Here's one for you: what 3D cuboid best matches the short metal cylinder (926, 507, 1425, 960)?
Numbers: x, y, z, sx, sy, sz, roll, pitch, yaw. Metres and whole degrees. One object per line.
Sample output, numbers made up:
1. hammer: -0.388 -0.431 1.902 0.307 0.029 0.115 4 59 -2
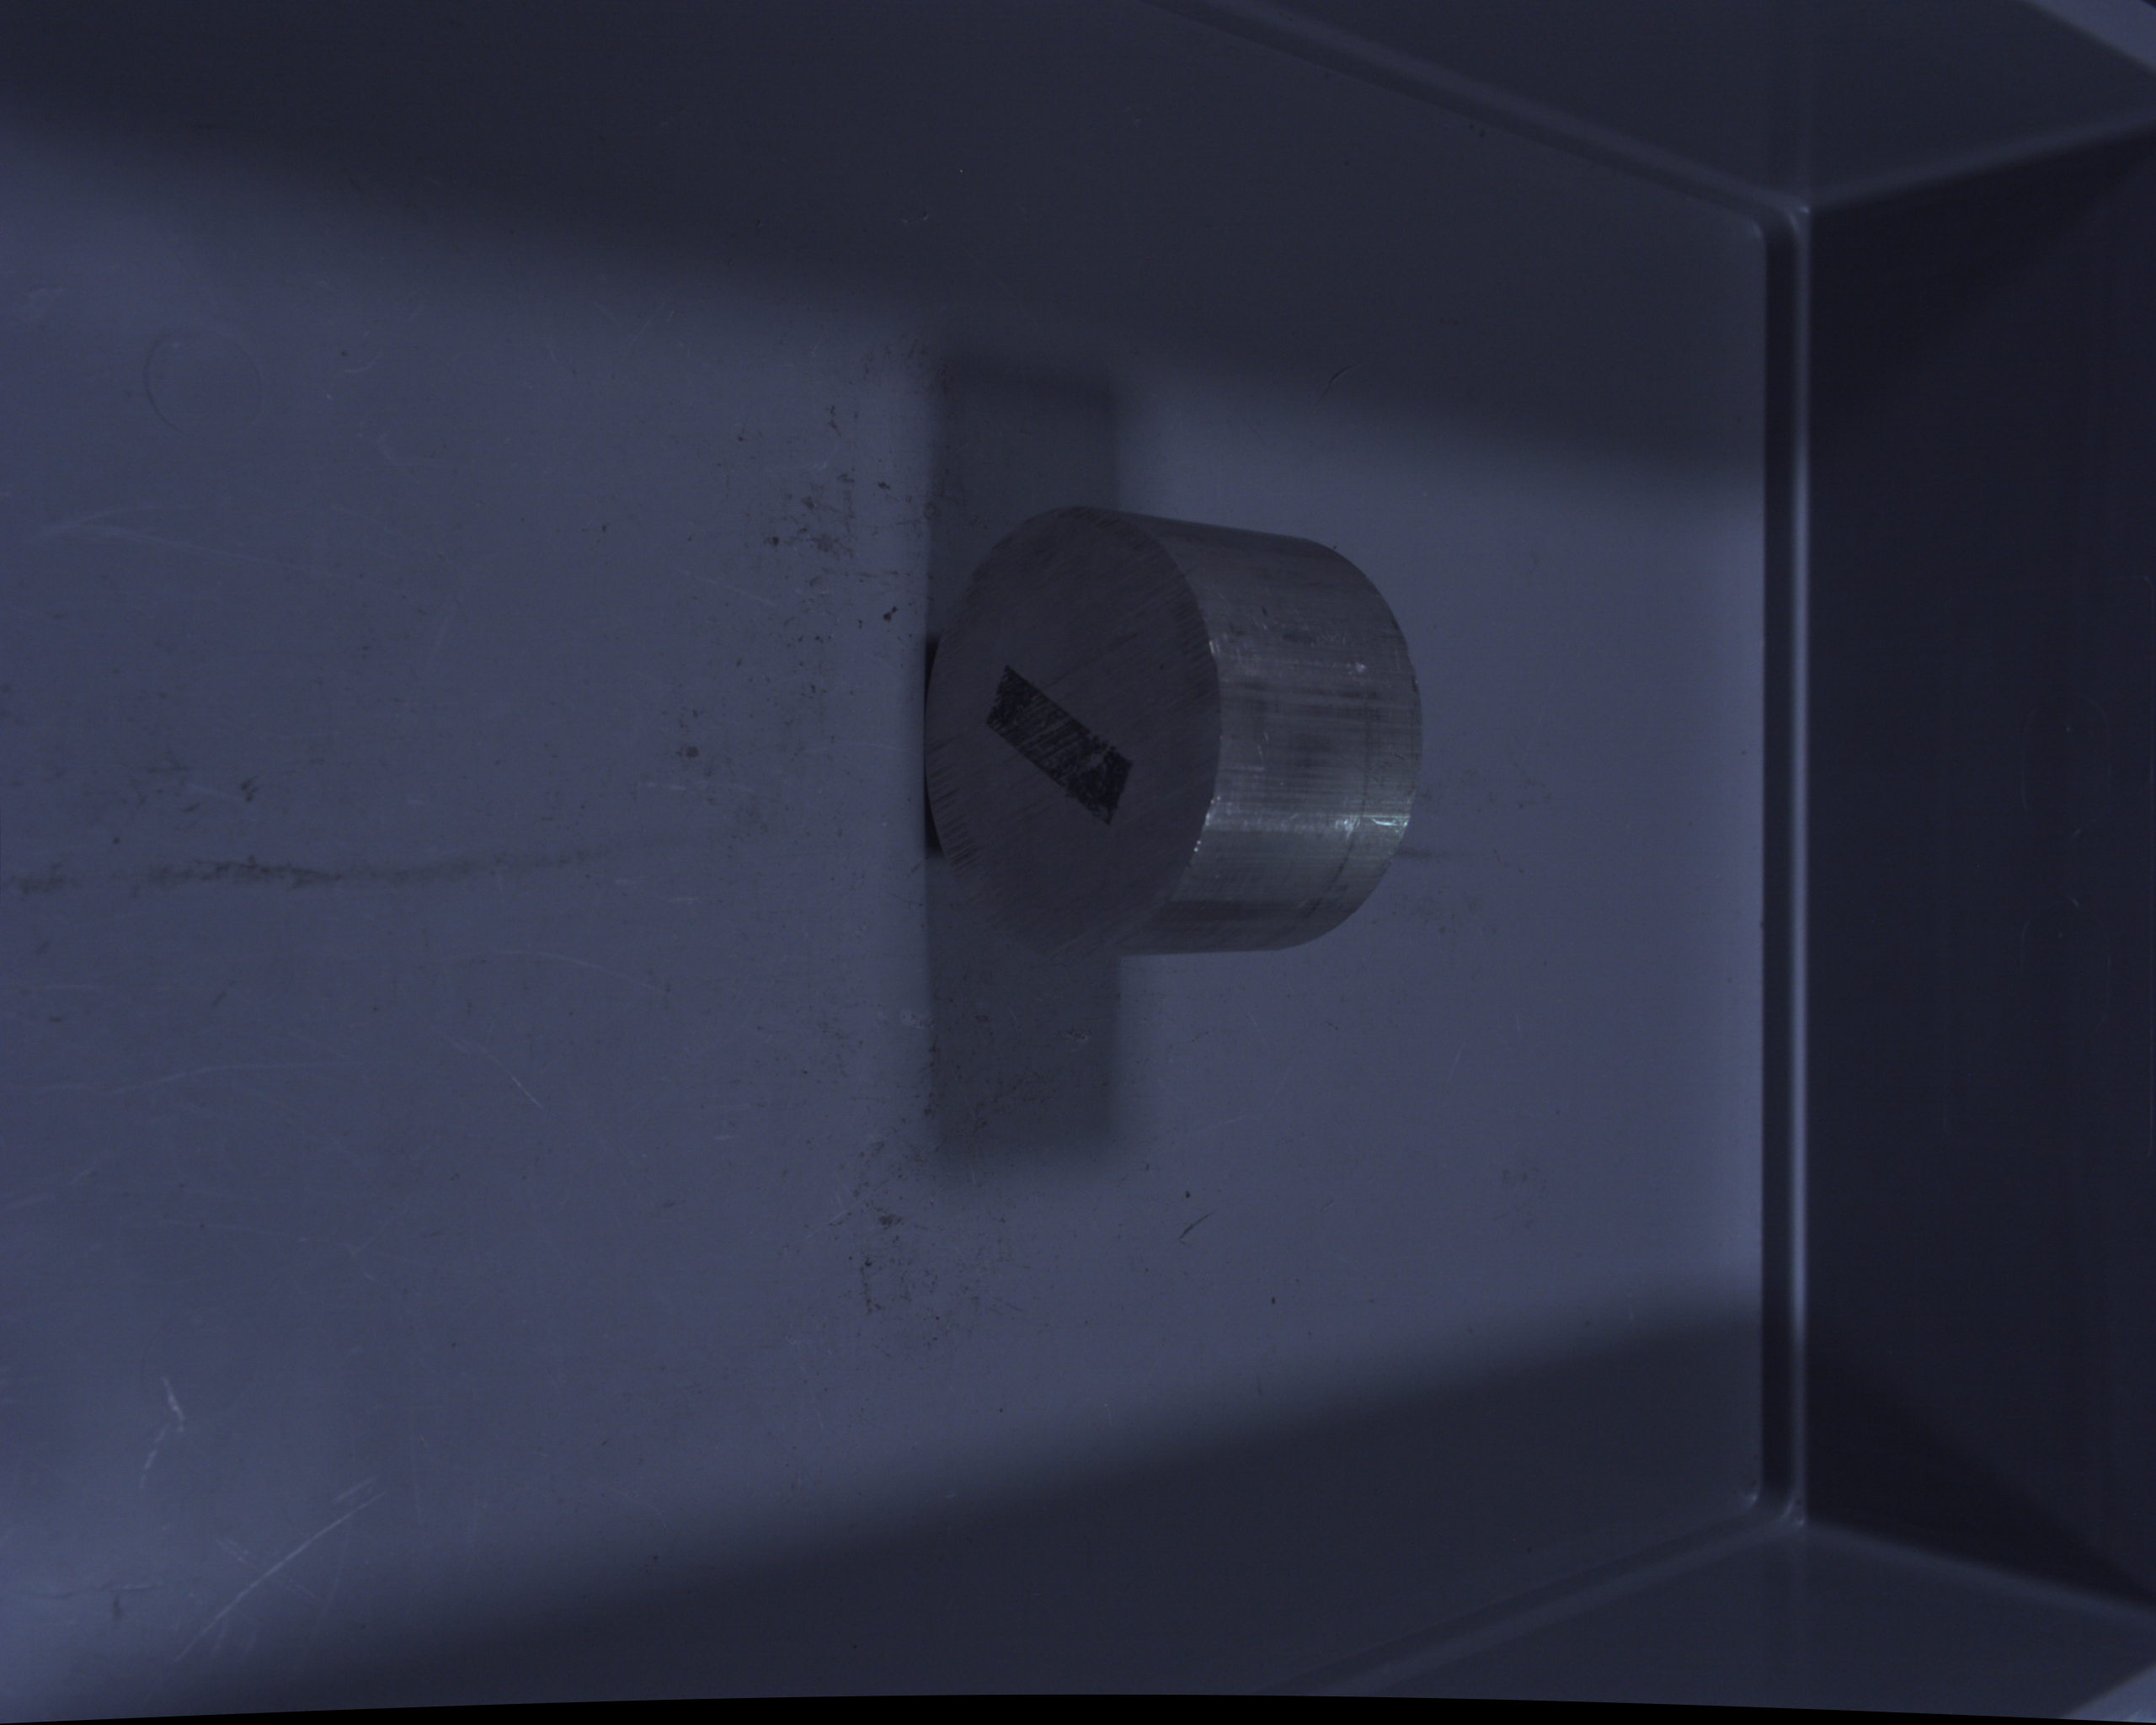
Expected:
1. short metal cylinder: 0.016 -0.023 0.383 0.050 0.080 0.079 0 90 -40
